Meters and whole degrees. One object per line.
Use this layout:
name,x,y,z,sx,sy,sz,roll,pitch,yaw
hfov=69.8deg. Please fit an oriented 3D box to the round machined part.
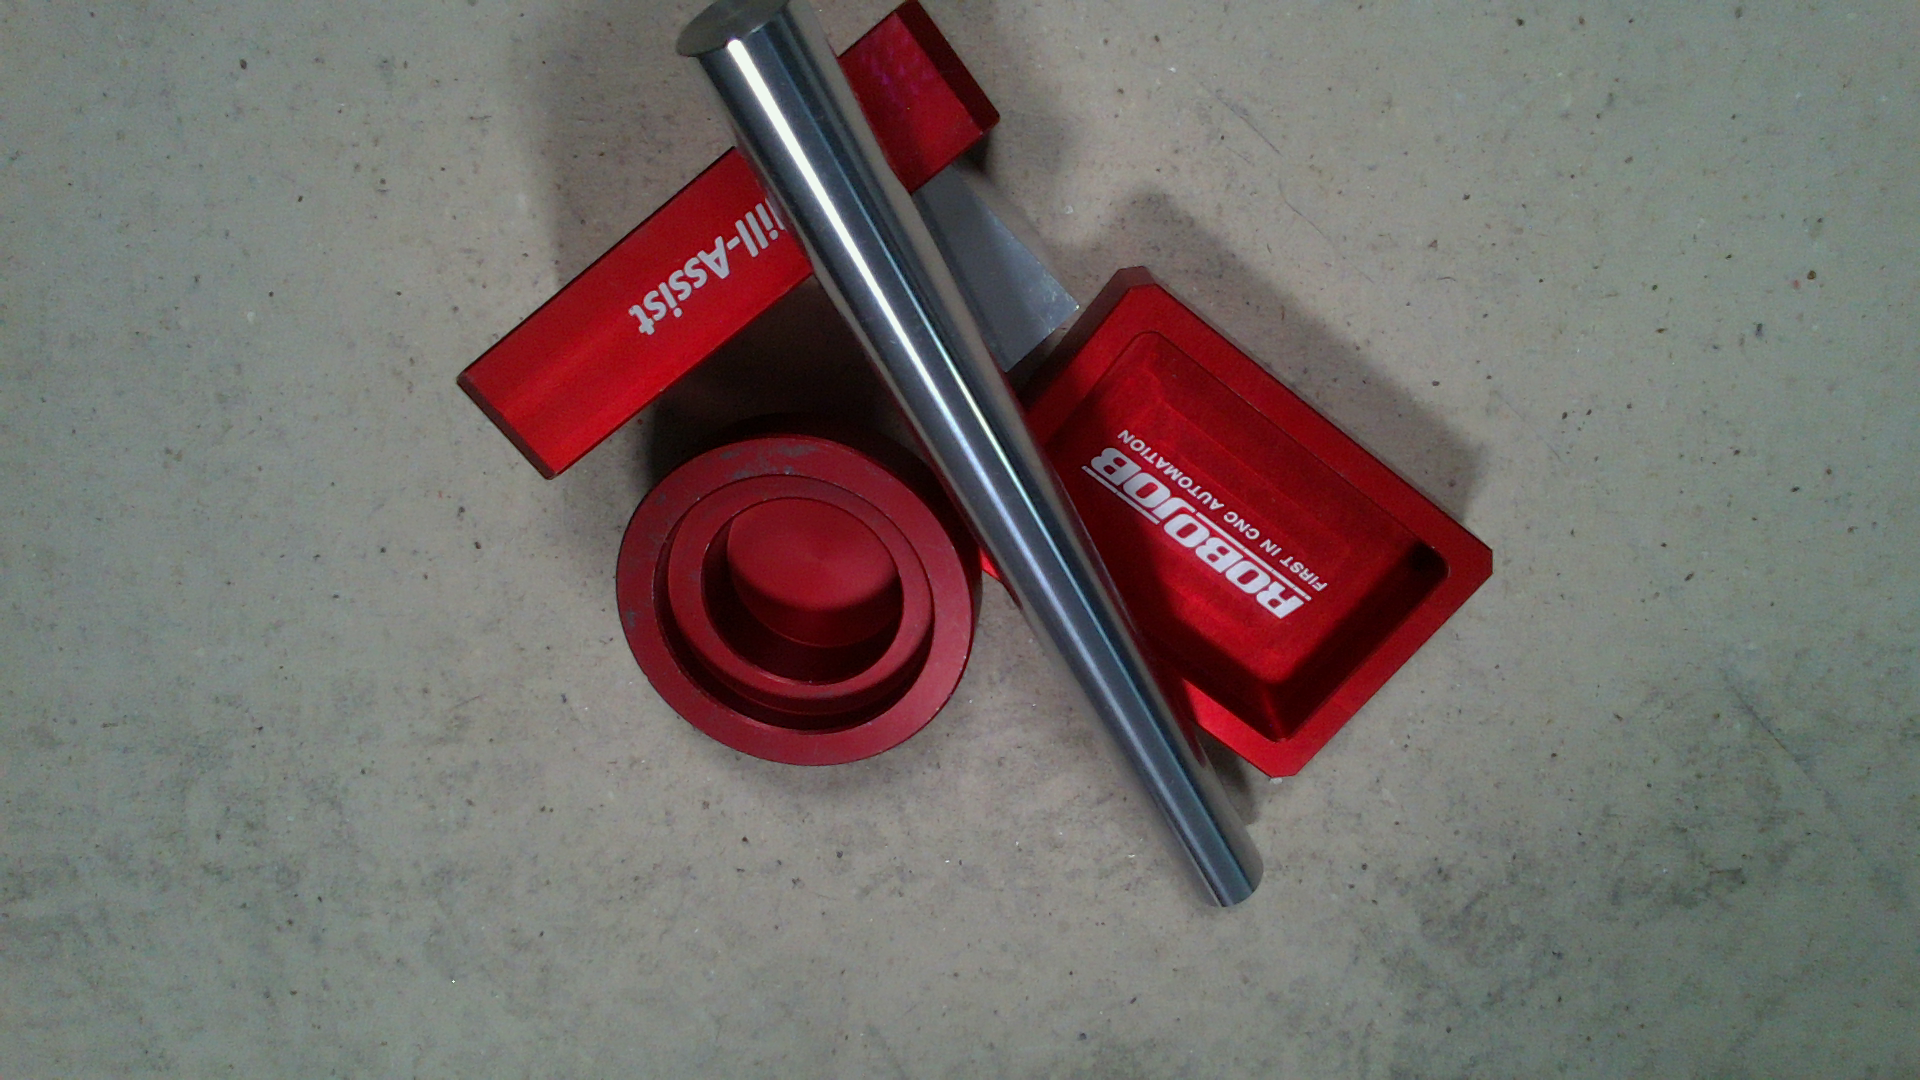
round machined part,-0.042,0.011,0.385,0.098,0.042,0.098,2,113,6

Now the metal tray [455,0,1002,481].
metal tray,-0.051,-0.075,0.331,0.130,0.090,0.030,-36,106,12

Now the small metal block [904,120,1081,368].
small metal block,0.000,-0.077,0.347,0.025,0.050,0.050,-40,120,16

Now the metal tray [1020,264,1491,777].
metal tray,0.071,-0.003,0.391,0.130,0.030,0.090,36,106,-12

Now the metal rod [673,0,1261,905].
metal rod,0.021,0.006,0.339,0.025,0.025,0.301,-25,130,9
